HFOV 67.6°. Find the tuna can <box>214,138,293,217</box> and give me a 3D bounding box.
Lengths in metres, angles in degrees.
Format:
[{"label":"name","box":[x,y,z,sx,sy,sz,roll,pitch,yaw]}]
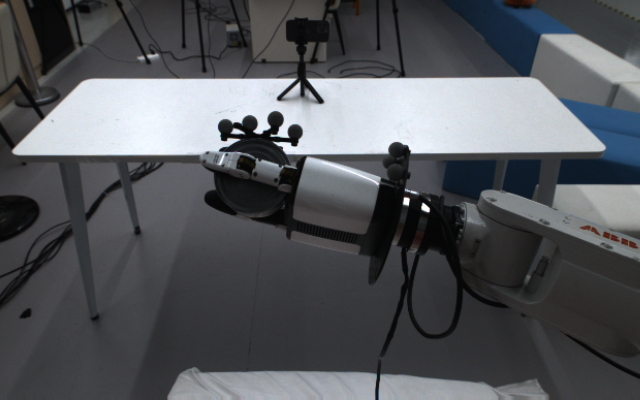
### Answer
[{"label":"tuna can","box":[-0.072,-0.024,0.541,0.085,0.034,0.085,0,76,0]}]
